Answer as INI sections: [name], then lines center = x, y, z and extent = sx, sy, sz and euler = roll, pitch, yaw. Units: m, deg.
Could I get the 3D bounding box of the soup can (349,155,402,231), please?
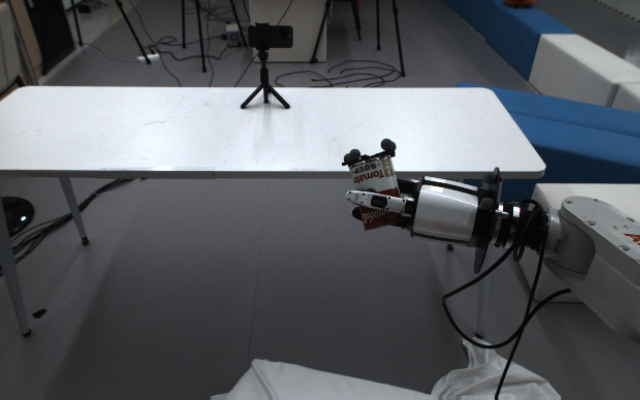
[soup can]
center = 0.090, -0.011, 0.743
extent = 0.067, 0.101, 0.067
euler = -14, -2, -1
